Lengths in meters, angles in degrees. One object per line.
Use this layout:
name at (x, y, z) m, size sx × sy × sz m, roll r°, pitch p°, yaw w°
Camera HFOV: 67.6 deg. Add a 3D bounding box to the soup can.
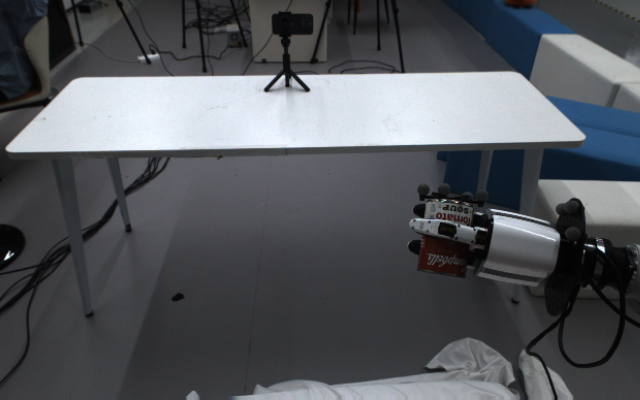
soup can at (0.177, 0.053, 0.675) m, size 0.067 × 0.101 × 0.067 m, roll 9°, pitch -6°, yaw 1°
